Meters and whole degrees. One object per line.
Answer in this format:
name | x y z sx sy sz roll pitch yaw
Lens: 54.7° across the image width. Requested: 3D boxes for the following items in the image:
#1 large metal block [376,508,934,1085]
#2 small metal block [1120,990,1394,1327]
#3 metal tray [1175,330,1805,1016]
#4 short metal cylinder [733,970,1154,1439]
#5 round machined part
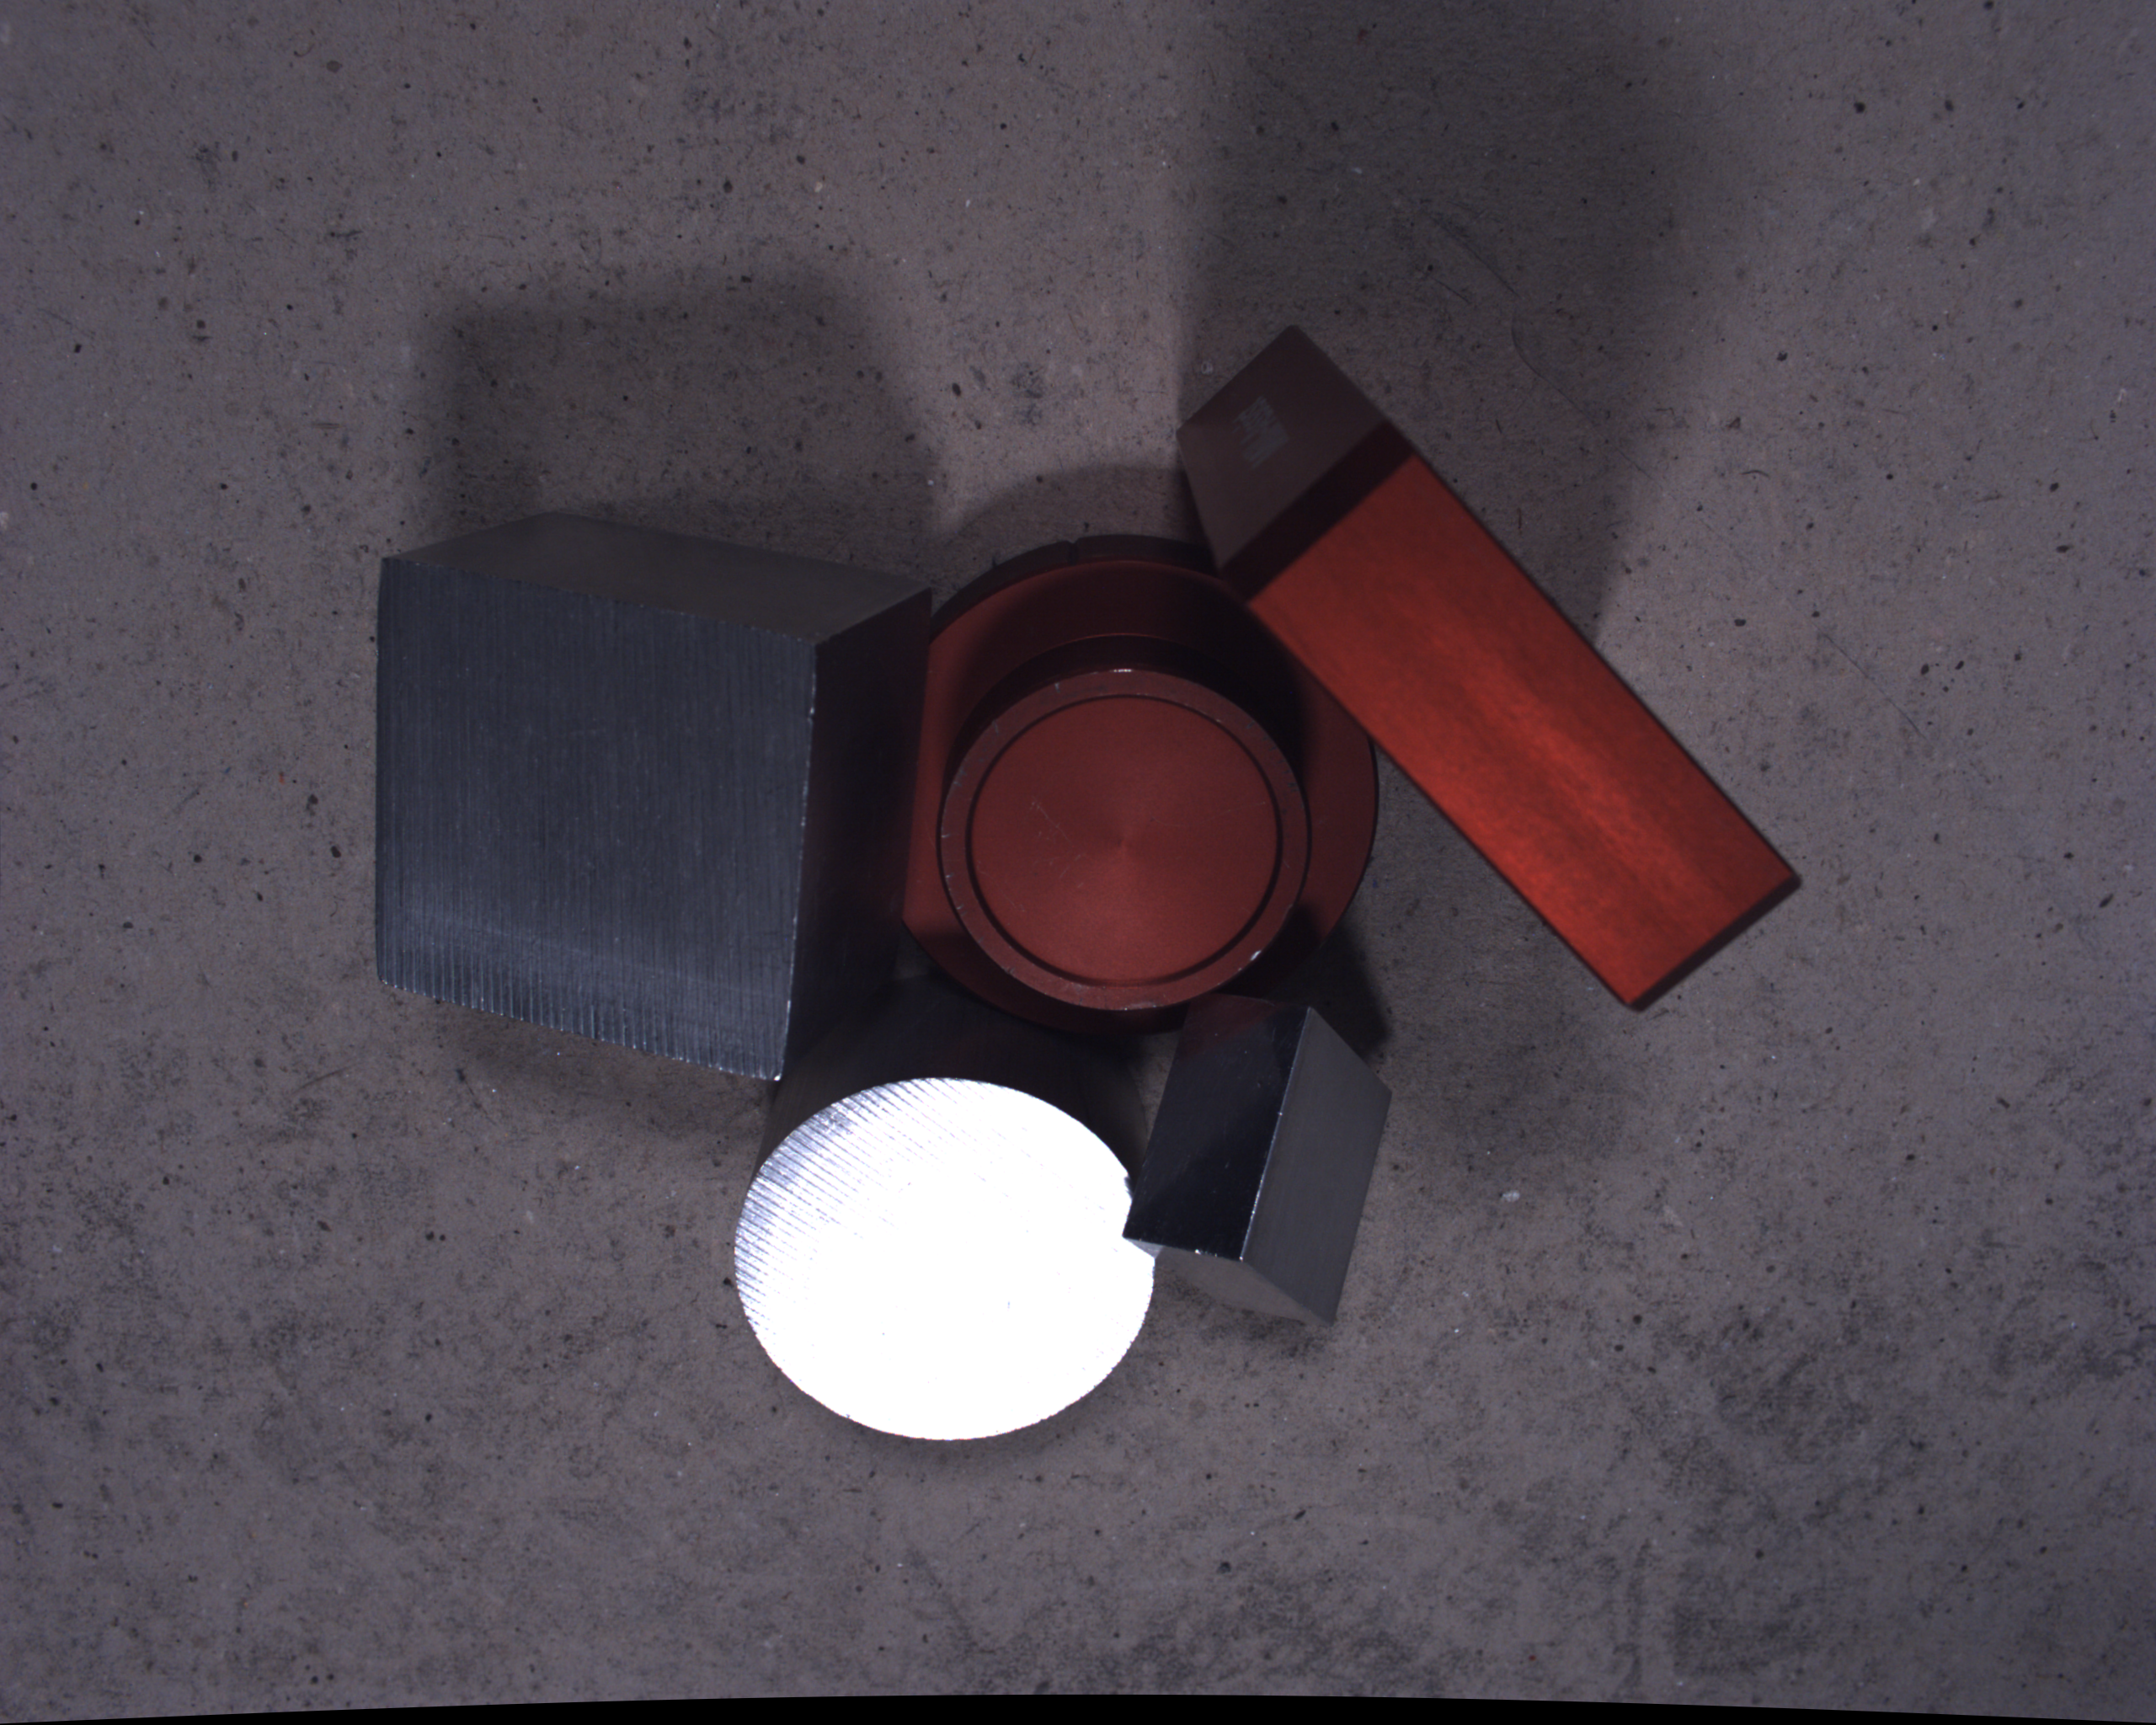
large metal block | -0.077 -0.014 0.378 0.080 0.050 0.079 13 111 13
small metal block | 0.037 0.058 0.408 0.025 0.050 0.050 6 158 30
metal tray | 0.060 -0.038 0.341 0.030 0.130 0.090 -43 105 14
short metal cylinder | -0.026 0.068 0.423 0.081 0.050 0.079 0 110 -1
round machined part | 0.009 -0.011 0.399 0.099 0.042 0.097 0 110 -1
